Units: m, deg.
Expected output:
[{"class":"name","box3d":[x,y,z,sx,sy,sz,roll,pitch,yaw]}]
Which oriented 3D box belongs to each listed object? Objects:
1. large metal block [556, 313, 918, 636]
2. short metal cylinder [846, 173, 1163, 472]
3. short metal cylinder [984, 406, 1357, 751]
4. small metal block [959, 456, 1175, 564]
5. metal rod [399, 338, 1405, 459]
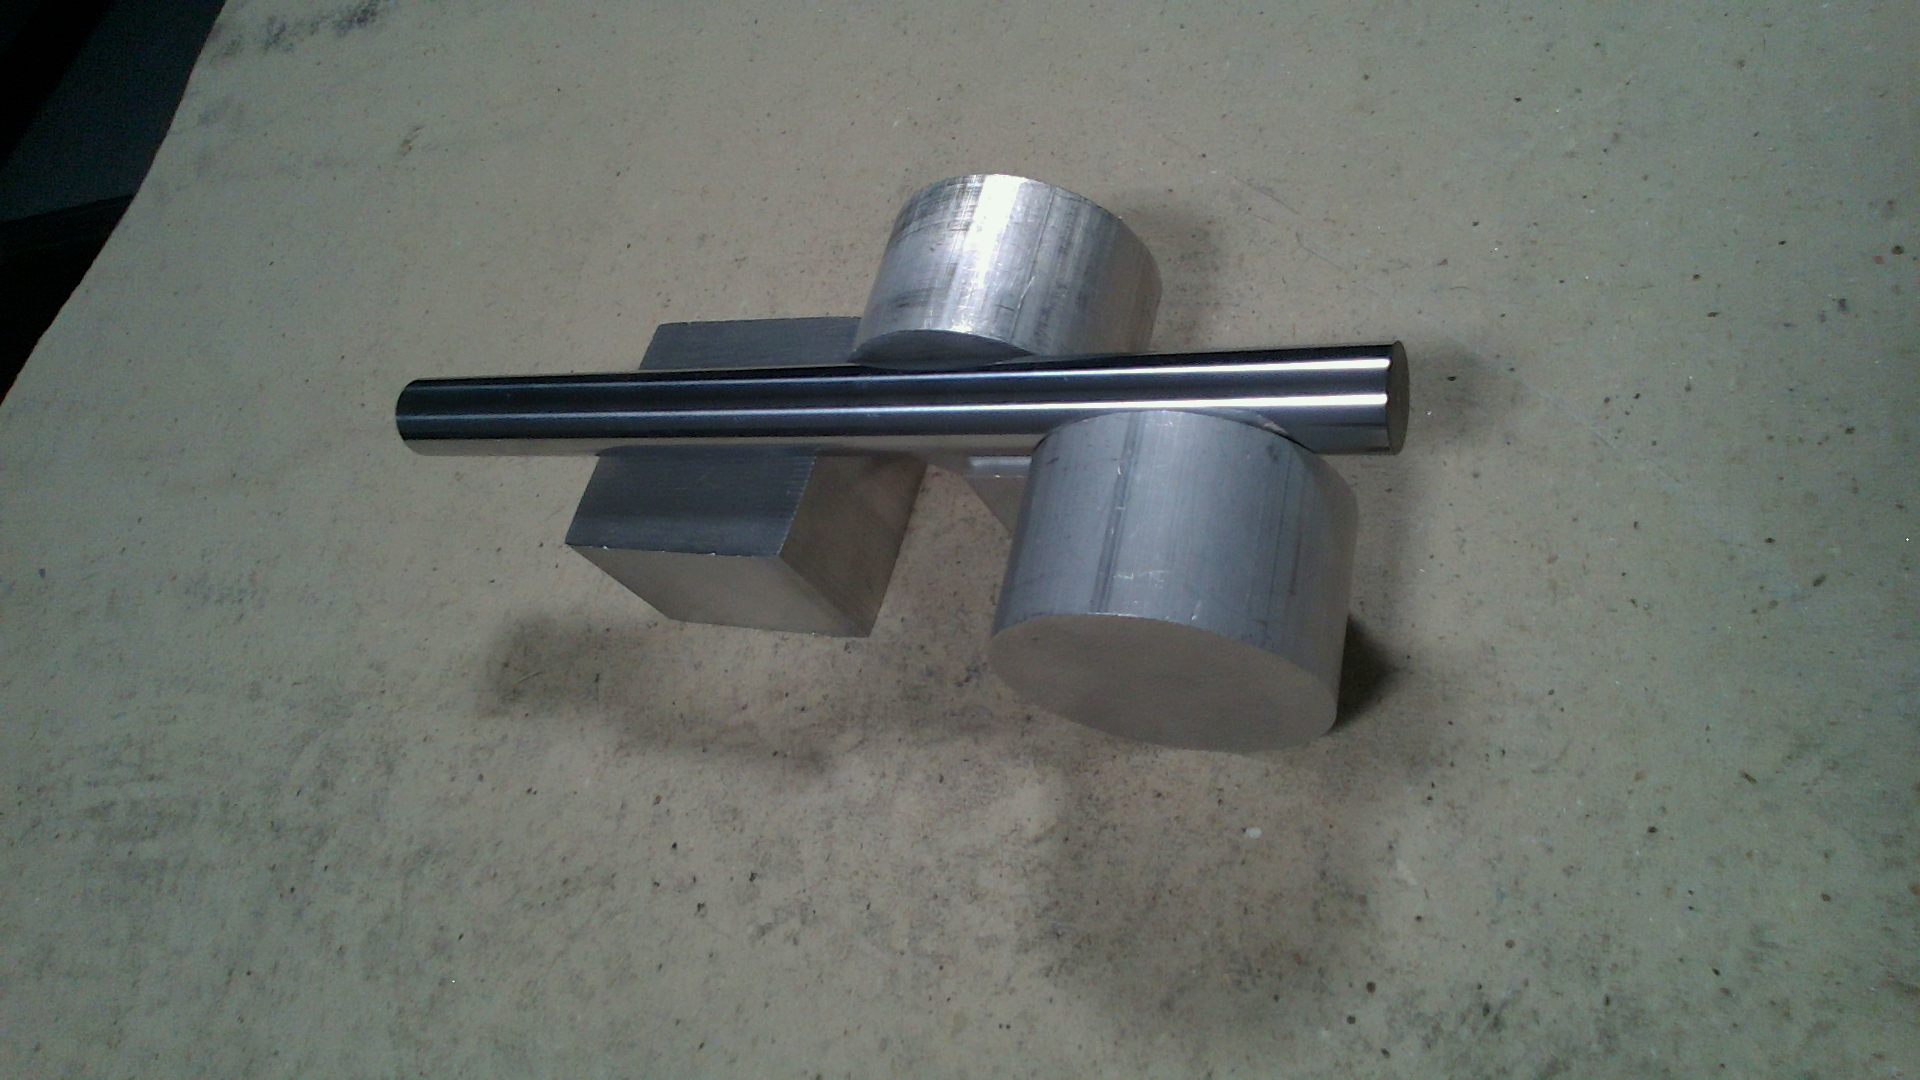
[{"class":"large metal block","box3d":[-0.063,-0.021,0.421,0.080,0.050,0.080,3,63,30]},{"class":"short metal cylinder","box3d":[0.013,-0.057,0.388,0.080,0.080,0.050,2,63,30]},{"class":"short metal cylinder","box3d":[0.050,0.012,0.323,0.080,0.080,0.050,0,61,28]},{"class":"small metal block","box3d":[0.035,-0.015,0.367,0.050,0.050,0.025,1,62,29]},{"class":"metal rod","box3d":[-0.037,-0.035,0.369,0.299,0.025,0.025,2,62,28]}]
